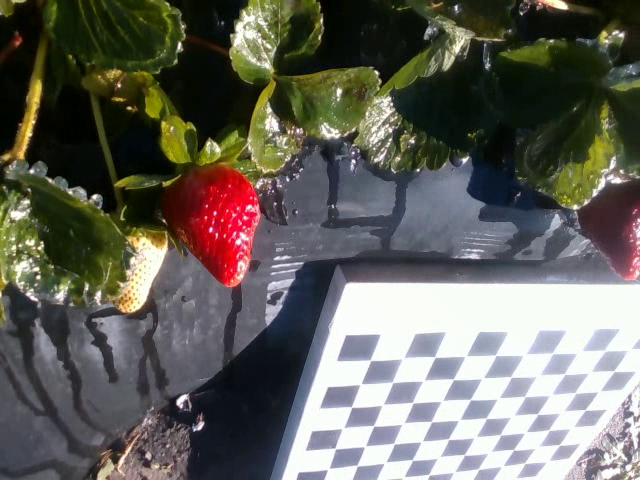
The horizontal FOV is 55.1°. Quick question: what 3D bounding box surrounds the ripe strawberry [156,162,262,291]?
[{"bbox_3d":[-0.045,-0.003,0.282,0.042,0.061,0.046,-9,-1,-11],"label":"ripe strawberry"}]
